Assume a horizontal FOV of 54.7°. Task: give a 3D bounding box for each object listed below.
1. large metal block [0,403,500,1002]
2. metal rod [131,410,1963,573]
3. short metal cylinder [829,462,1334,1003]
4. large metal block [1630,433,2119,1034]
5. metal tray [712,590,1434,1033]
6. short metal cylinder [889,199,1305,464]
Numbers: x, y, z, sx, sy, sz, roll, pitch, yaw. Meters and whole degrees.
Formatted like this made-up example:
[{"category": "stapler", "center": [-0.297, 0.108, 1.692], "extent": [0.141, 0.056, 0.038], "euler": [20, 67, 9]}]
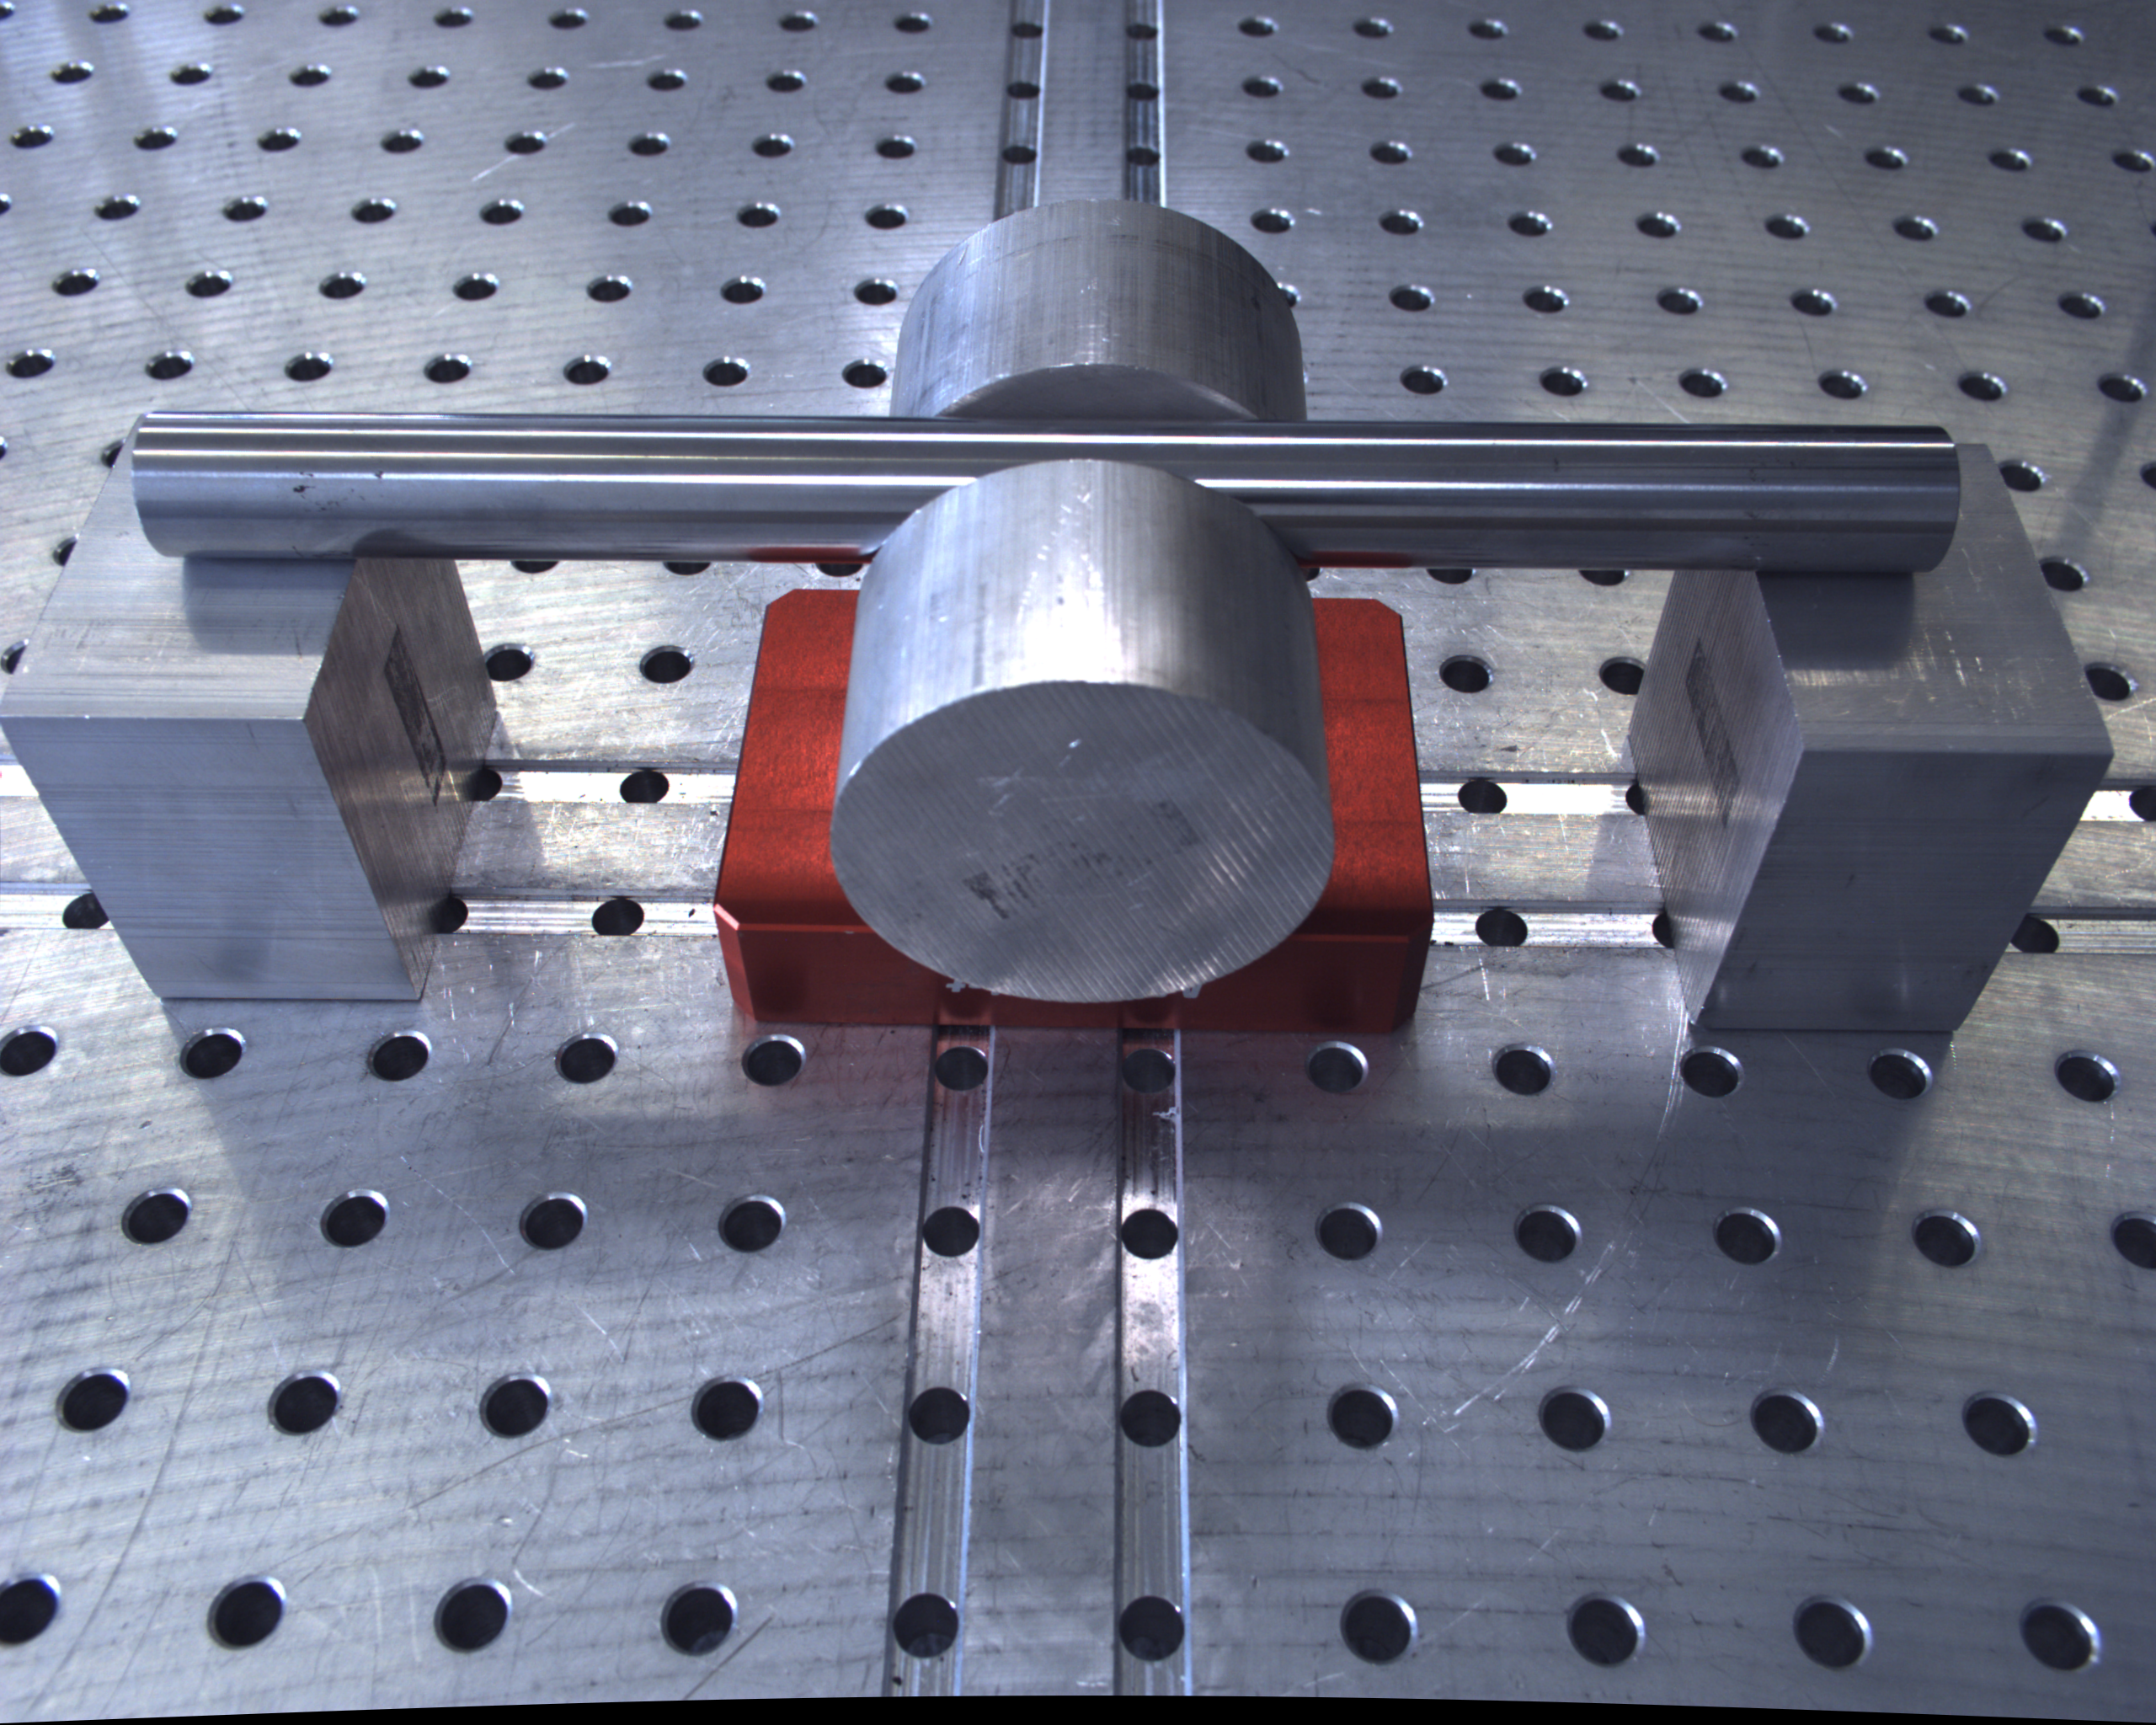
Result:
[{"category": "large metal block", "center": [-0.151, -0.030, 0.394], "extent": [0.050, 0.080, 0.080], "euler": [1, 50, 1]}, {"category": "metal rod", "center": [-0.005, -0.063, 0.356], "extent": [0.302, 0.025, 0.025], "euler": [1, 50, 0]}, {"category": "short metal cylinder", "center": [0.001, -0.020, 0.350], "extent": [0.080, 0.080, 0.050], "euler": [1, 50, 0]}, {"category": "large metal block", "center": [0.143, -0.024, 0.391], "extent": [0.050, 0.080, 0.080], "euler": [1, 50, 1]}, {"category": "metal tray", "center": [0.000, -0.012, 0.414], "extent": [0.131, 0.030, 0.090], "euler": [1, 50, 1]}, {"category": "short metal cylinder", "center": [0.004, -0.078, 0.398], "extent": [0.080, 0.080, 0.050], "euler": [1, 50, 0]}]
